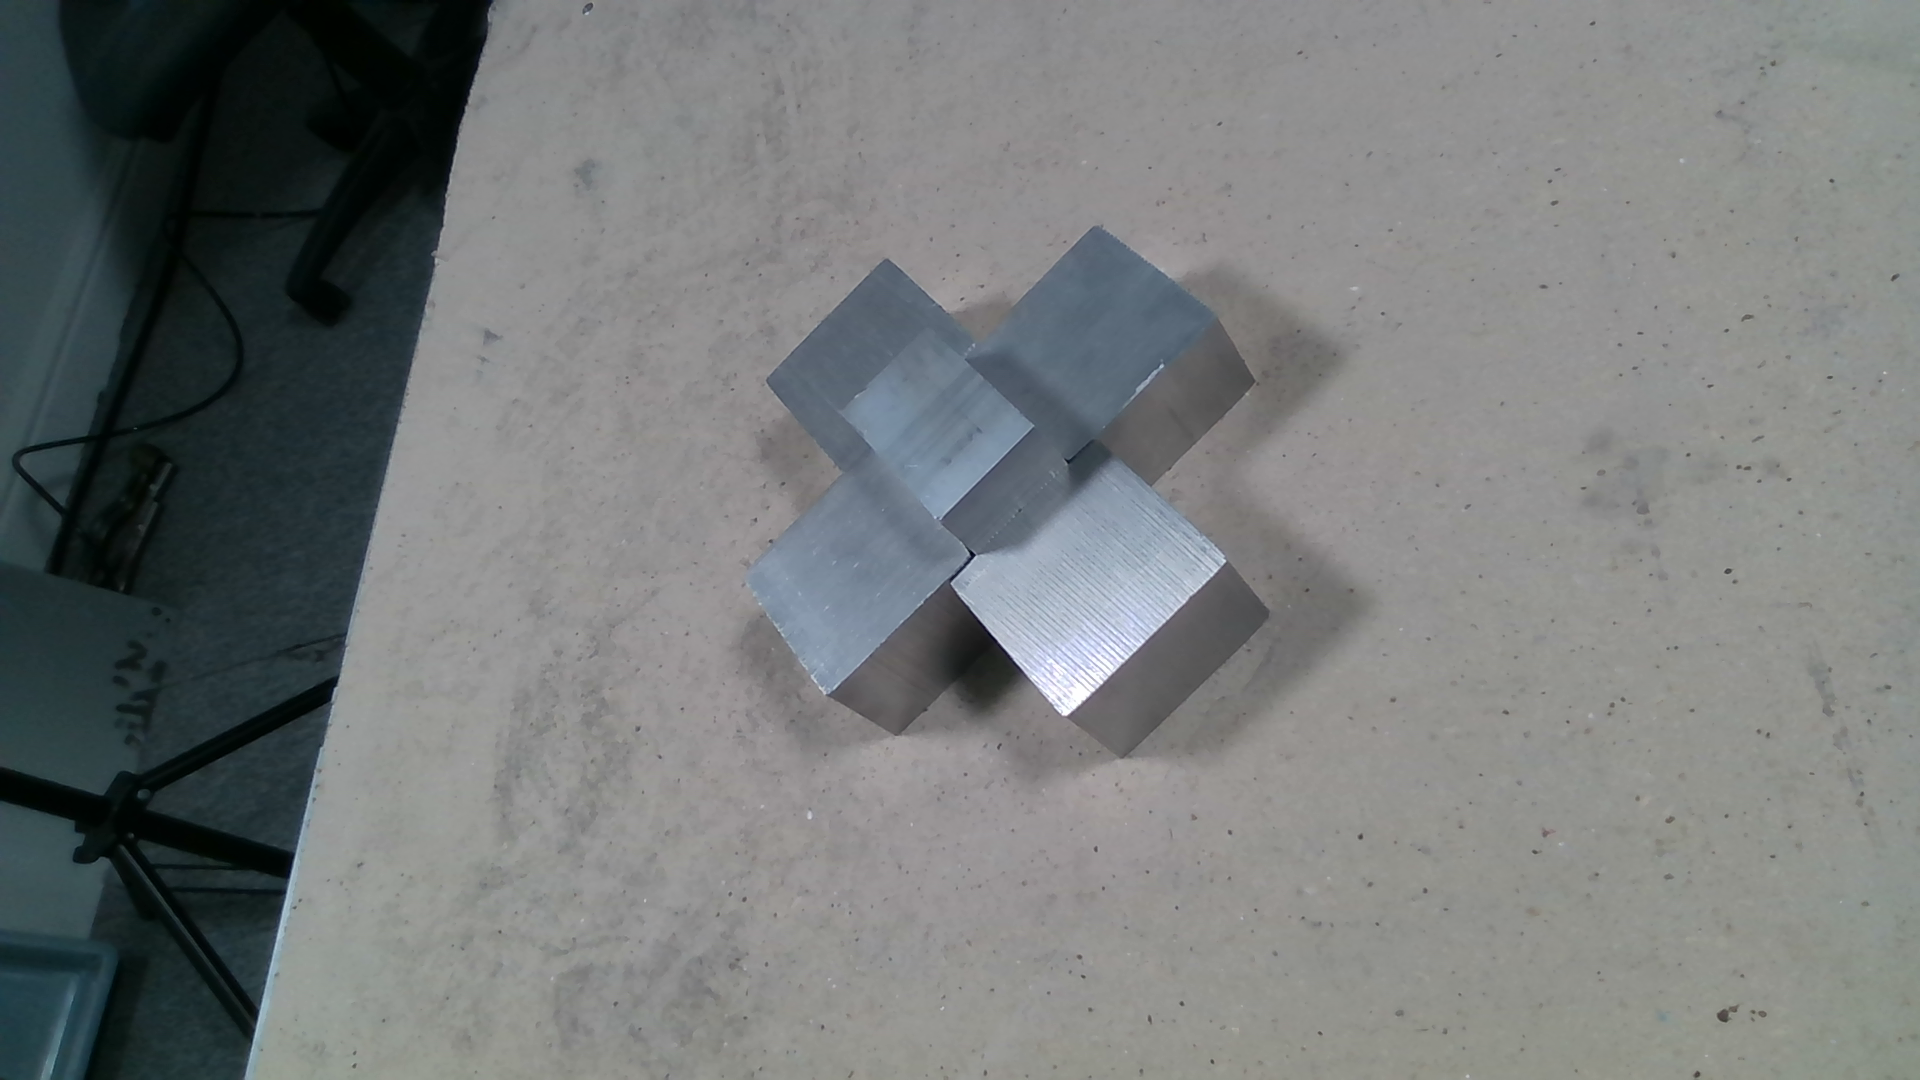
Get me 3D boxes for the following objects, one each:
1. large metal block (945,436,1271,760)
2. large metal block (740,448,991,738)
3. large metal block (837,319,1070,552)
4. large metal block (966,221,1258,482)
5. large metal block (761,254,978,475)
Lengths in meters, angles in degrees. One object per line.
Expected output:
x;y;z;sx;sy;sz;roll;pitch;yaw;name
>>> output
0.055;0.022;0.523;0.080;0.050;0.080;-45;51;3;large metal block
-0.033;0.021;0.577;0.080;0.050;0.080;-45;51;3;large metal block
0.008;-0.032;0.562;0.050;0.080;0.080;-45;51;3;large metal block
0.060;-0.071;0.569;0.080;0.050;0.080;-45;51;3;large metal block
-0.030;-0.069;0.624;0.080;0.050;0.080;-45;51;3;large metal block
